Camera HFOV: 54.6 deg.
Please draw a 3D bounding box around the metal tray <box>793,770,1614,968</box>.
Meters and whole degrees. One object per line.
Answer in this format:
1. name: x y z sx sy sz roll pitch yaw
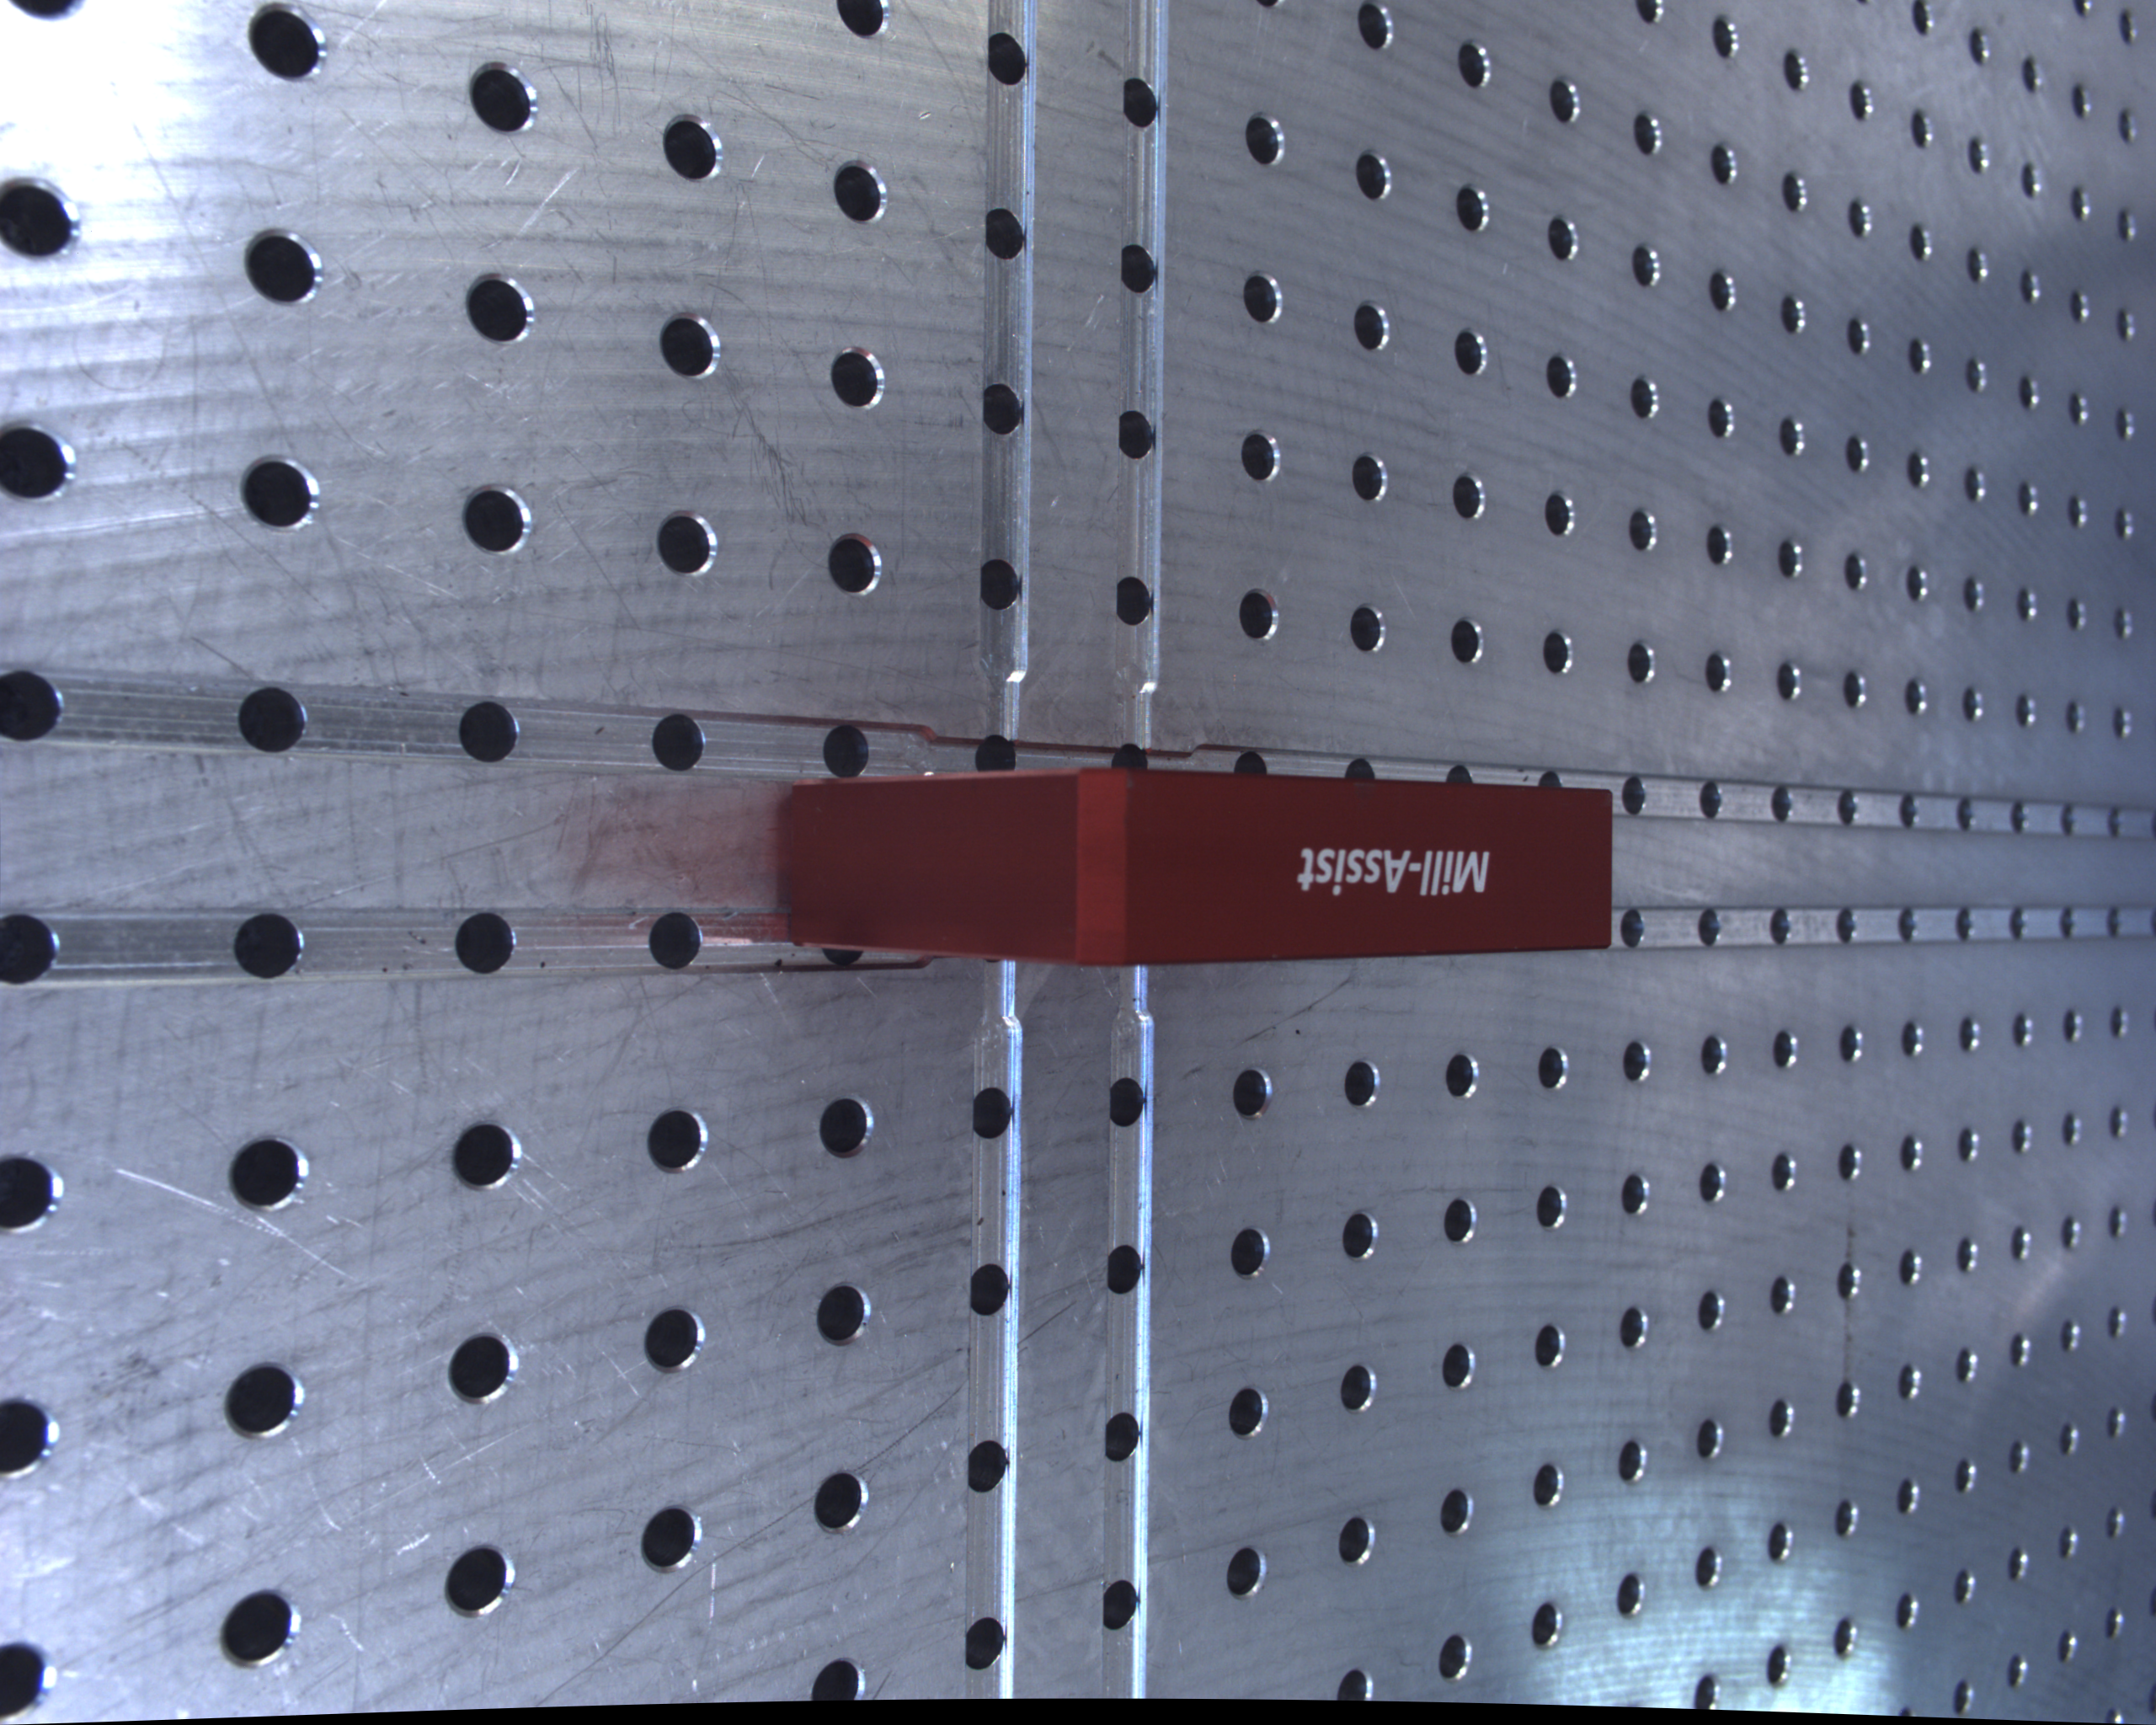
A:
1. metal tray: 0.025 0.001 0.386 0.131 0.090 0.030 0 90 -40
